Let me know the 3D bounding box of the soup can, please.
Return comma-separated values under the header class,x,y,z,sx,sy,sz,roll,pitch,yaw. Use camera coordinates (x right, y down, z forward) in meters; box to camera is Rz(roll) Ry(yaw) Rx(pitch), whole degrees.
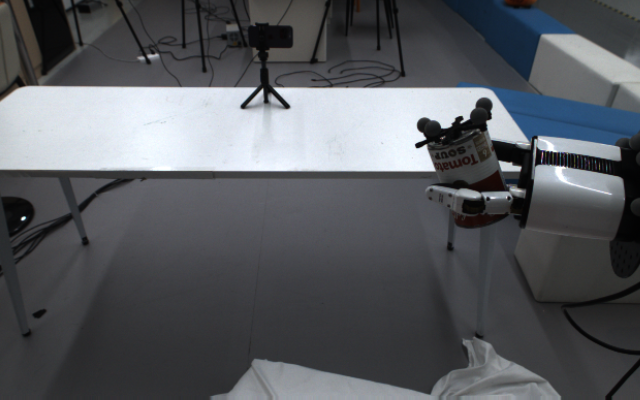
class,x,y,z,sx,sy,sz,roll,pitch,yaw
soup can,0.171,-0.030,0.546,0.067,0.101,0.067,-23,16,7
